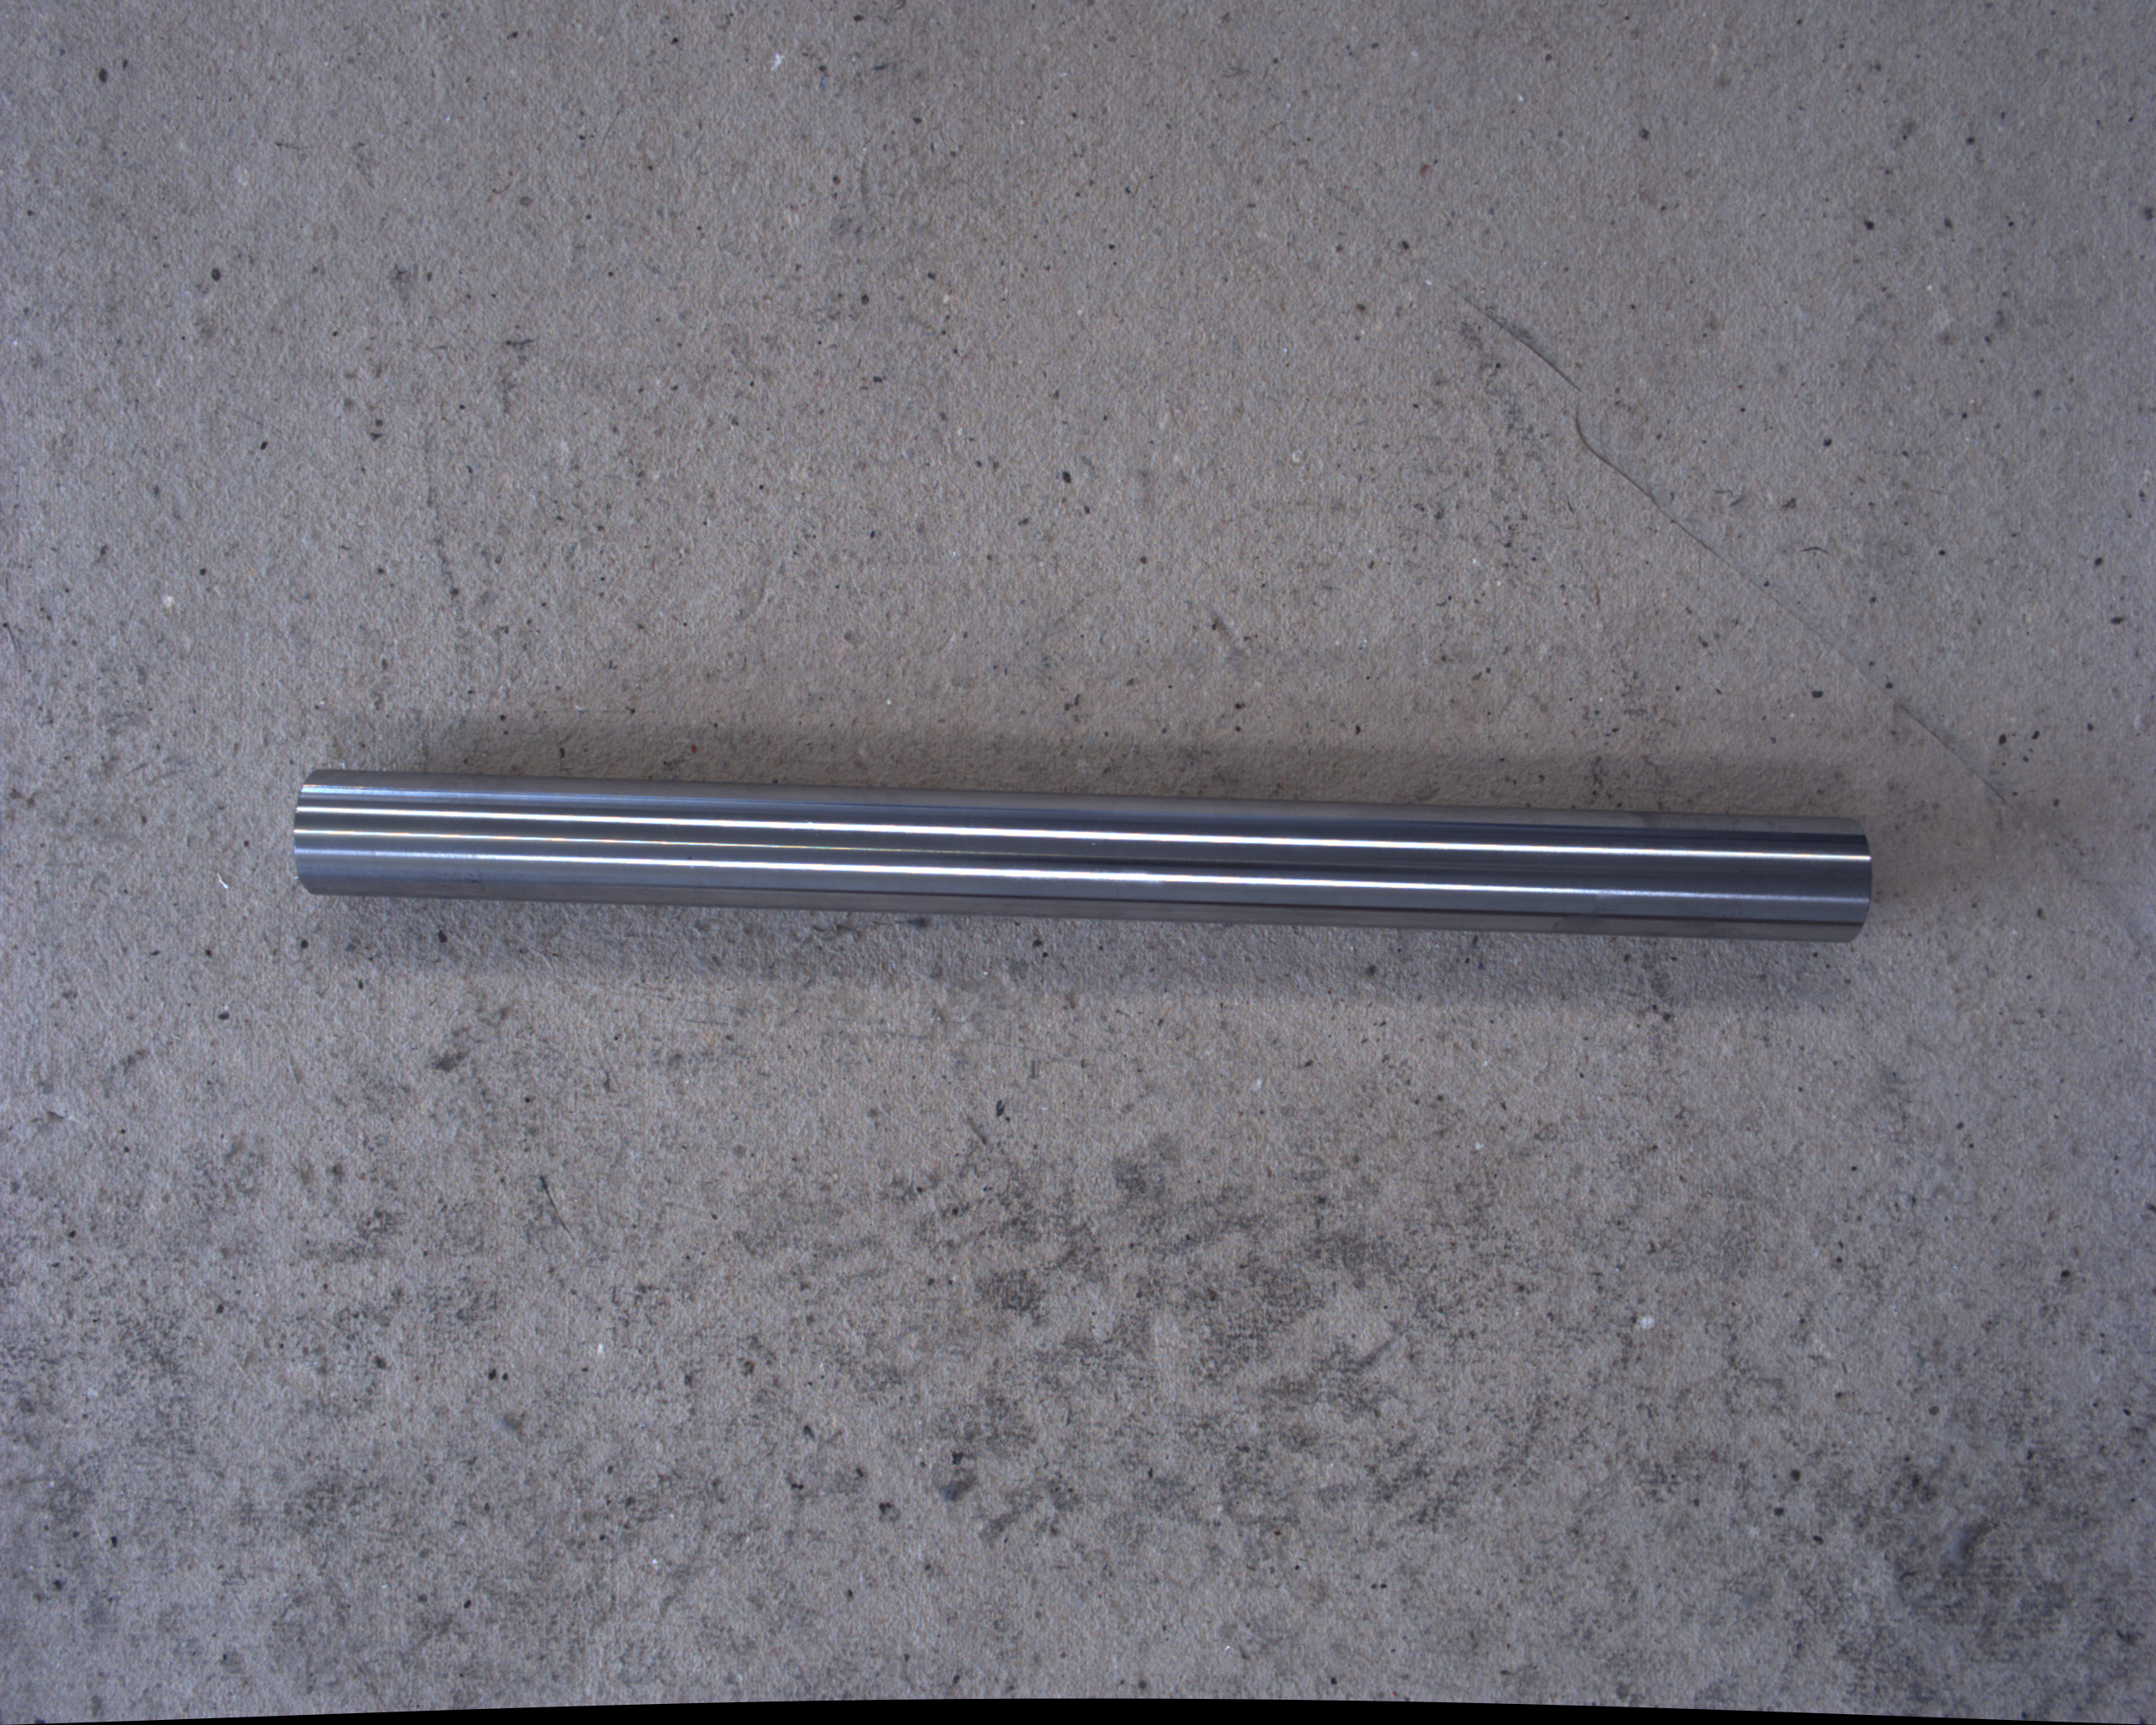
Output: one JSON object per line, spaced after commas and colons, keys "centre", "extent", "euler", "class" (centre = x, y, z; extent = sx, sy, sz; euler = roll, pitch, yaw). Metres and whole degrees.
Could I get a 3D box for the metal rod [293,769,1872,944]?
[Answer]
{"centre": [0.001, -0.001, 0.411], "extent": [0.302, 0.025, 0.025], "euler": [2, 90, 0], "class": "metal rod"}
